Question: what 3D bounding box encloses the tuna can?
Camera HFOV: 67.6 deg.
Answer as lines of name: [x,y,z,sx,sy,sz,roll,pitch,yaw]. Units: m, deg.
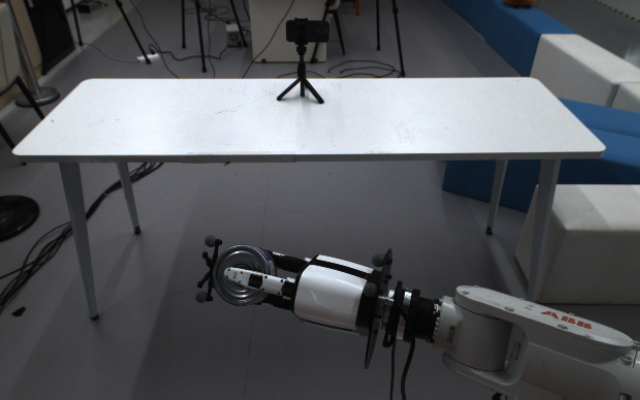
tuna can: [-0.103,0.104,0.679,0.085,0.085,0.034,10,-6,11]
